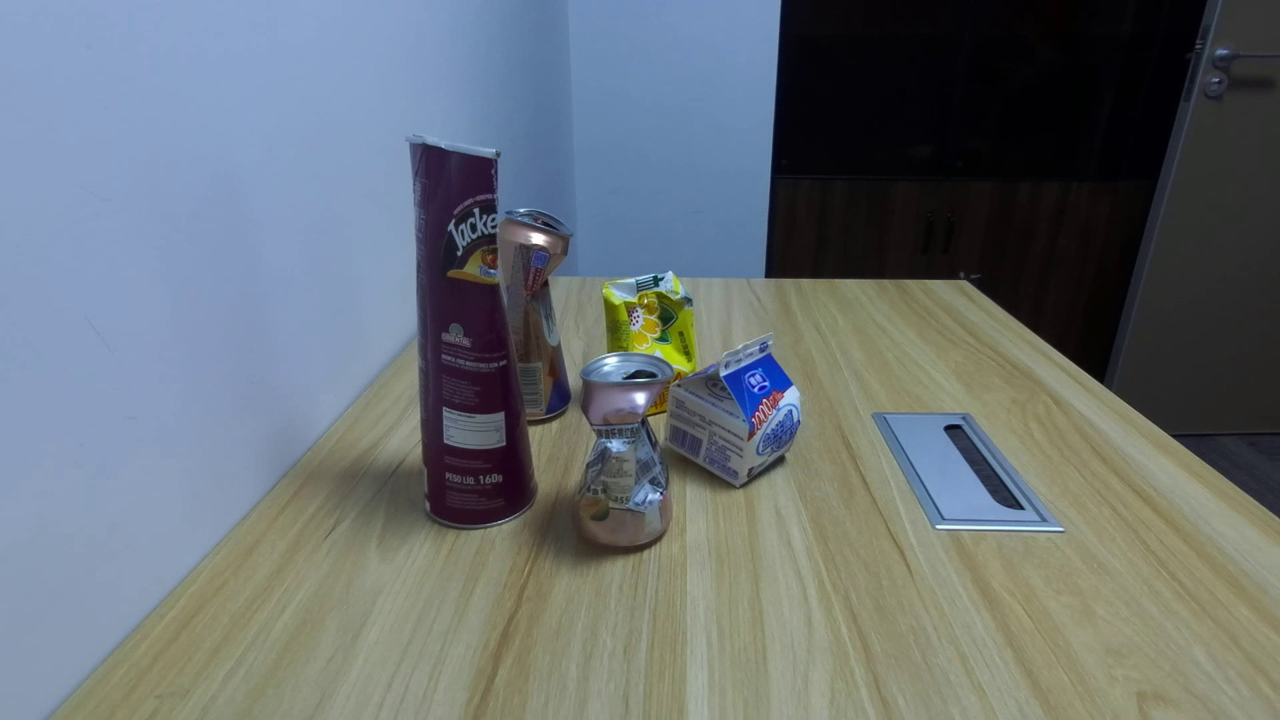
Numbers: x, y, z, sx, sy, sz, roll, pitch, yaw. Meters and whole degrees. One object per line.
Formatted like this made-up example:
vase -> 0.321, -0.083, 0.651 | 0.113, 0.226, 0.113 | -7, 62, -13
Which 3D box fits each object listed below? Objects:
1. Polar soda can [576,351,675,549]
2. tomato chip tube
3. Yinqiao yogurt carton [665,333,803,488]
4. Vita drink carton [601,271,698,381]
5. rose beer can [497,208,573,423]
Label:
Polar soda can -> -0.010, 0.053, 0.433 | 0.070, 0.114, 0.074 | -13, 29, -38
tomato chip tube -> -0.107, -0.013, 0.436 | 0.078, 0.236, 0.090 | 1, 21, 2
Yinqiao yogurt carton -> 0.072, 0.029, 0.507 | 0.080, 0.097, 0.075 | 27, 34, 34
Vita drink carton -> 0.010, -0.013, 0.588 | 0.071, 0.110, 0.046 | -11, 23, -21
rose beer can -> -0.088, -0.035, 0.579 | 0.069, 0.168, 0.070 | 23, 30, 36
